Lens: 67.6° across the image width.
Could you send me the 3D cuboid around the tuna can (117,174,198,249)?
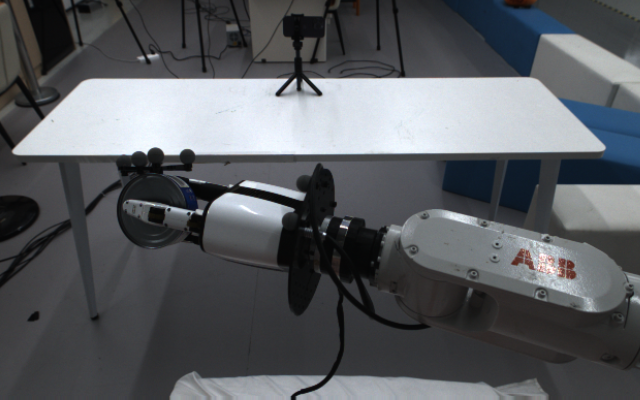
[{"bbox_3d":[-0.181,0.014,0.556,0.085,0.085,0.034,10,2,11],"label":"tuna can"}]
